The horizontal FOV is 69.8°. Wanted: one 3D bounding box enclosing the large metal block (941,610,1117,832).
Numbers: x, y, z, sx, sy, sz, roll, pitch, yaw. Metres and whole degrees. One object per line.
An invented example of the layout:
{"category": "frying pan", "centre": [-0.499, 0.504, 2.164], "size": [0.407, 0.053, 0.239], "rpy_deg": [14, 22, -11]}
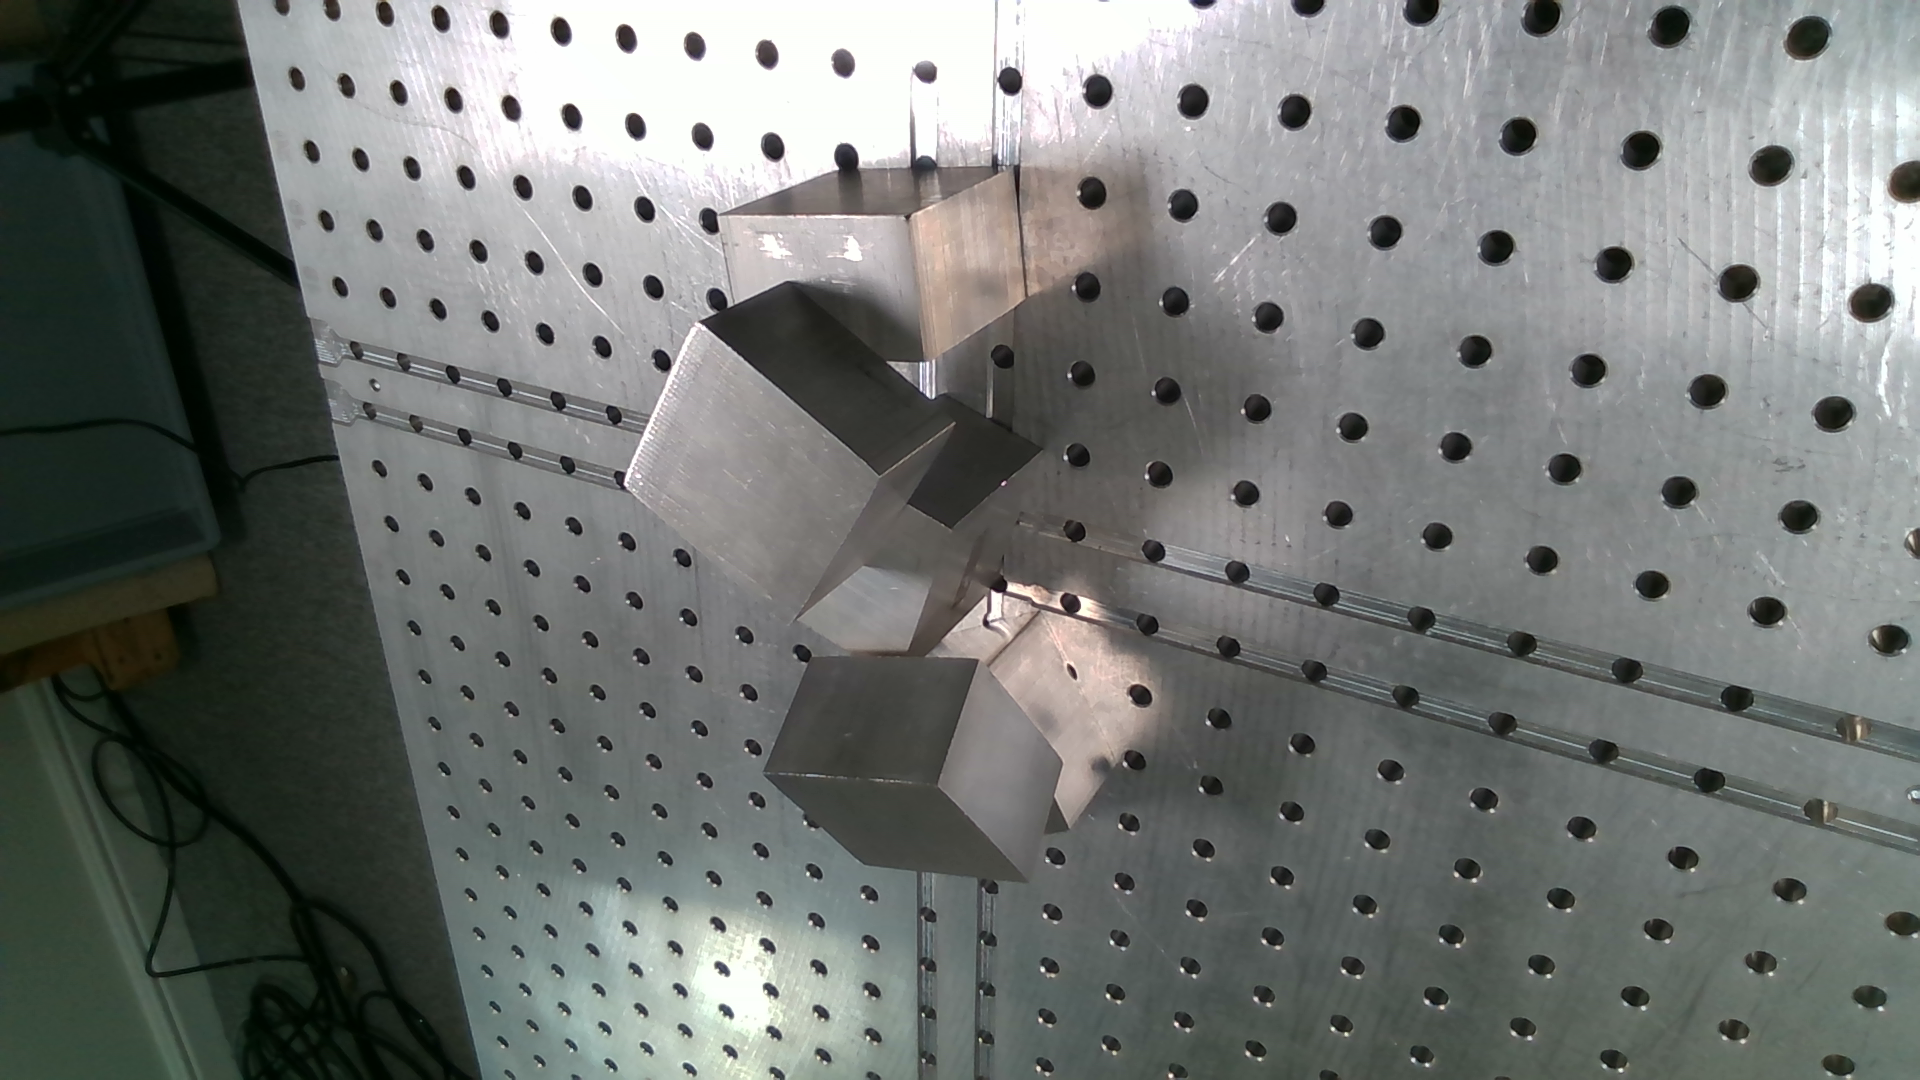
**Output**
{"category": "large metal block", "centre": [0.010, 0.085, 0.607], "size": [0.080, 0.050, 0.080], "rpy_deg": [-18, 105, 37]}

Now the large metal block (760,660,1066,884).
{"category": "large metal block", "centre": [-0.016, 0.090, 0.538], "size": [0.080, 0.050, 0.080], "rpy_deg": [-2, 143, 33]}

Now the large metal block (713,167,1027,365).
{"category": "large metal block", "centre": [-0.031, -0.104, 0.509], "size": [0.080, 0.080, 0.050], "rpy_deg": [8, 119, 28]}

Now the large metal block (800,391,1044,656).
{"category": "large metal block", "centre": [-0.017, -0.002, 0.556], "size": [0.050, 0.080, 0.080], "rpy_deg": [31, 127, 14]}

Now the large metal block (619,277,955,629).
{"category": "large metal block", "centre": [-0.062, -0.030, 0.483], "size": [0.080, 0.050, 0.080], "rpy_deg": [40, 128, 6]}
